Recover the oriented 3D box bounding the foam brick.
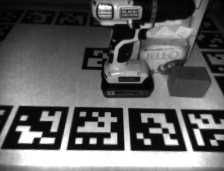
[{"bbox_3d":[0.164,-0.016,0.500,0.078,0.051,0.052,3,48,1],"label":"foam brick"}]

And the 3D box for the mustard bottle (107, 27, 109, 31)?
[{"bbox_3d":[0.035,-0.231,0.585,0.096,0.192,0.058,11,48,9],"label":"mustard bottle"}]

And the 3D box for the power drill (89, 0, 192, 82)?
[{"bbox_3d":[0.046,-0.092,0.424,0.185,0.188,0.057,1,43,-2],"label":"power drill"}]

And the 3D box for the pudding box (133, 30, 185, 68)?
[{"bbox_3d":[0.108,-0.087,0.518,0.114,0.090,0.038,0,45,2],"label":"pudding box"}]

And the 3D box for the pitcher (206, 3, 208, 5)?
[{"bbox_3d":[0.168,-0.235,0.581,0.188,0.244,0.133,5,47,5],"label":"pitcher"}]

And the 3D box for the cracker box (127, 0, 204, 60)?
[{"bbox_3d":[0.118,-0.159,0.513,0.164,0.215,0.071,-2,45,0],"label":"cracker box"}]
